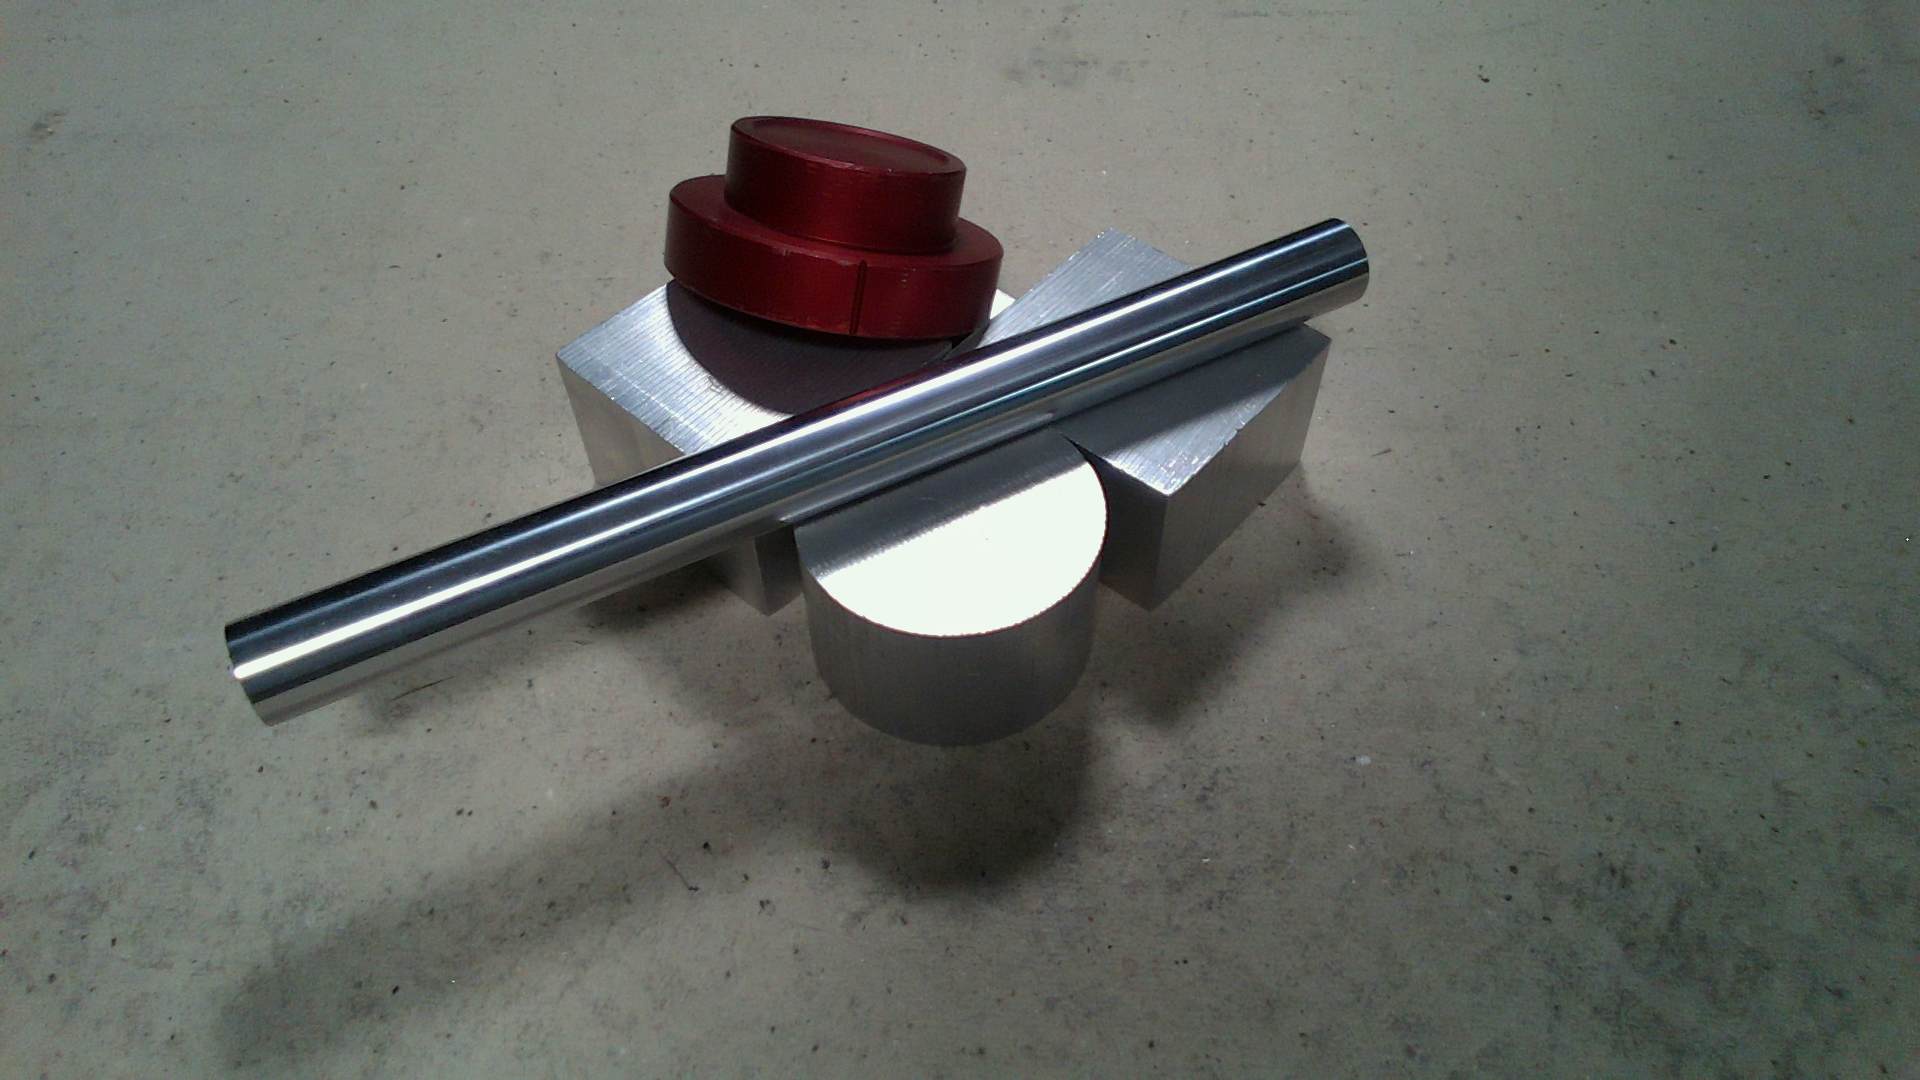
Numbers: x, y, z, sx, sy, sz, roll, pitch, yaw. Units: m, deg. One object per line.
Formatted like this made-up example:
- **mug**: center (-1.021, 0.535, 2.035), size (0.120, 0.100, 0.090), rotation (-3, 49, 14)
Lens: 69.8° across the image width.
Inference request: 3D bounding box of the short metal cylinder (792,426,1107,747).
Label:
- **short metal cylinder**: center (-0.003, 0.008, 0.368), size (0.080, 0.050, 0.080), rotation (0, 50, 0)

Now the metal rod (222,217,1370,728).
- **metal rod**: center (-0.024, -0.025, 0.347), size (0.301, 0.025, 0.025), rotation (-22, 53, -18)

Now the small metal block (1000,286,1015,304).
- **small metal block**: center (-0.004, -0.060, 0.441), size (0.050, 0.025, 0.050), rotation (35, 58, 26)

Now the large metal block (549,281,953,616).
- **large metal block**: center (-0.058, -0.038, 0.406), size (0.080, 0.050, 0.080), rotation (35, 58, 26)

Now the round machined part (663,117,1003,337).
- **round machined part**: center (-0.035, -0.095, 0.403), size (0.098, 0.042, 0.098), rotation (10, 24, -4)

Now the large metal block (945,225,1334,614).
- **large metal block**: center (0.050, -0.038, 0.408), size (0.080, 0.050, 0.080), rotation (34, 58, 25)
